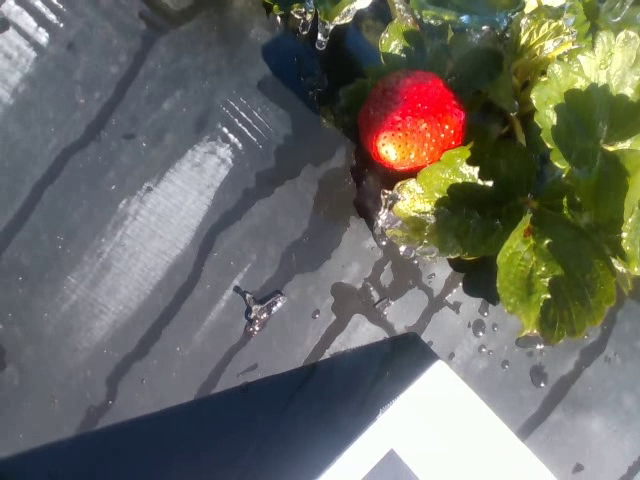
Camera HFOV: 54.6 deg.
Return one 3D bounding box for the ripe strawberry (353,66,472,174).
[{"bbox_3d":[0.029,-0.038,0.209,0.041,0.047,0.052,41,30,11],"label":"ripe strawberry"}]
